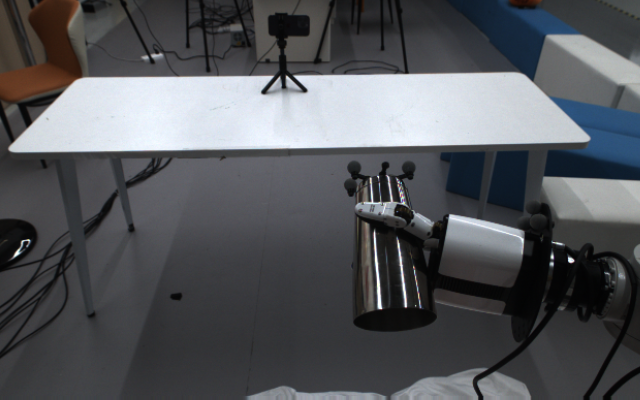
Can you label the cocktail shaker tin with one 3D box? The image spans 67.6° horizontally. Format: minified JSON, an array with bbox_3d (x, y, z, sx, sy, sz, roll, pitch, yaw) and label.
[{"bbox_3d":[0.080,0.058,0.570,0.093,0.093,0.170,0,59,-3],"label":"cocktail shaker tin"}]
